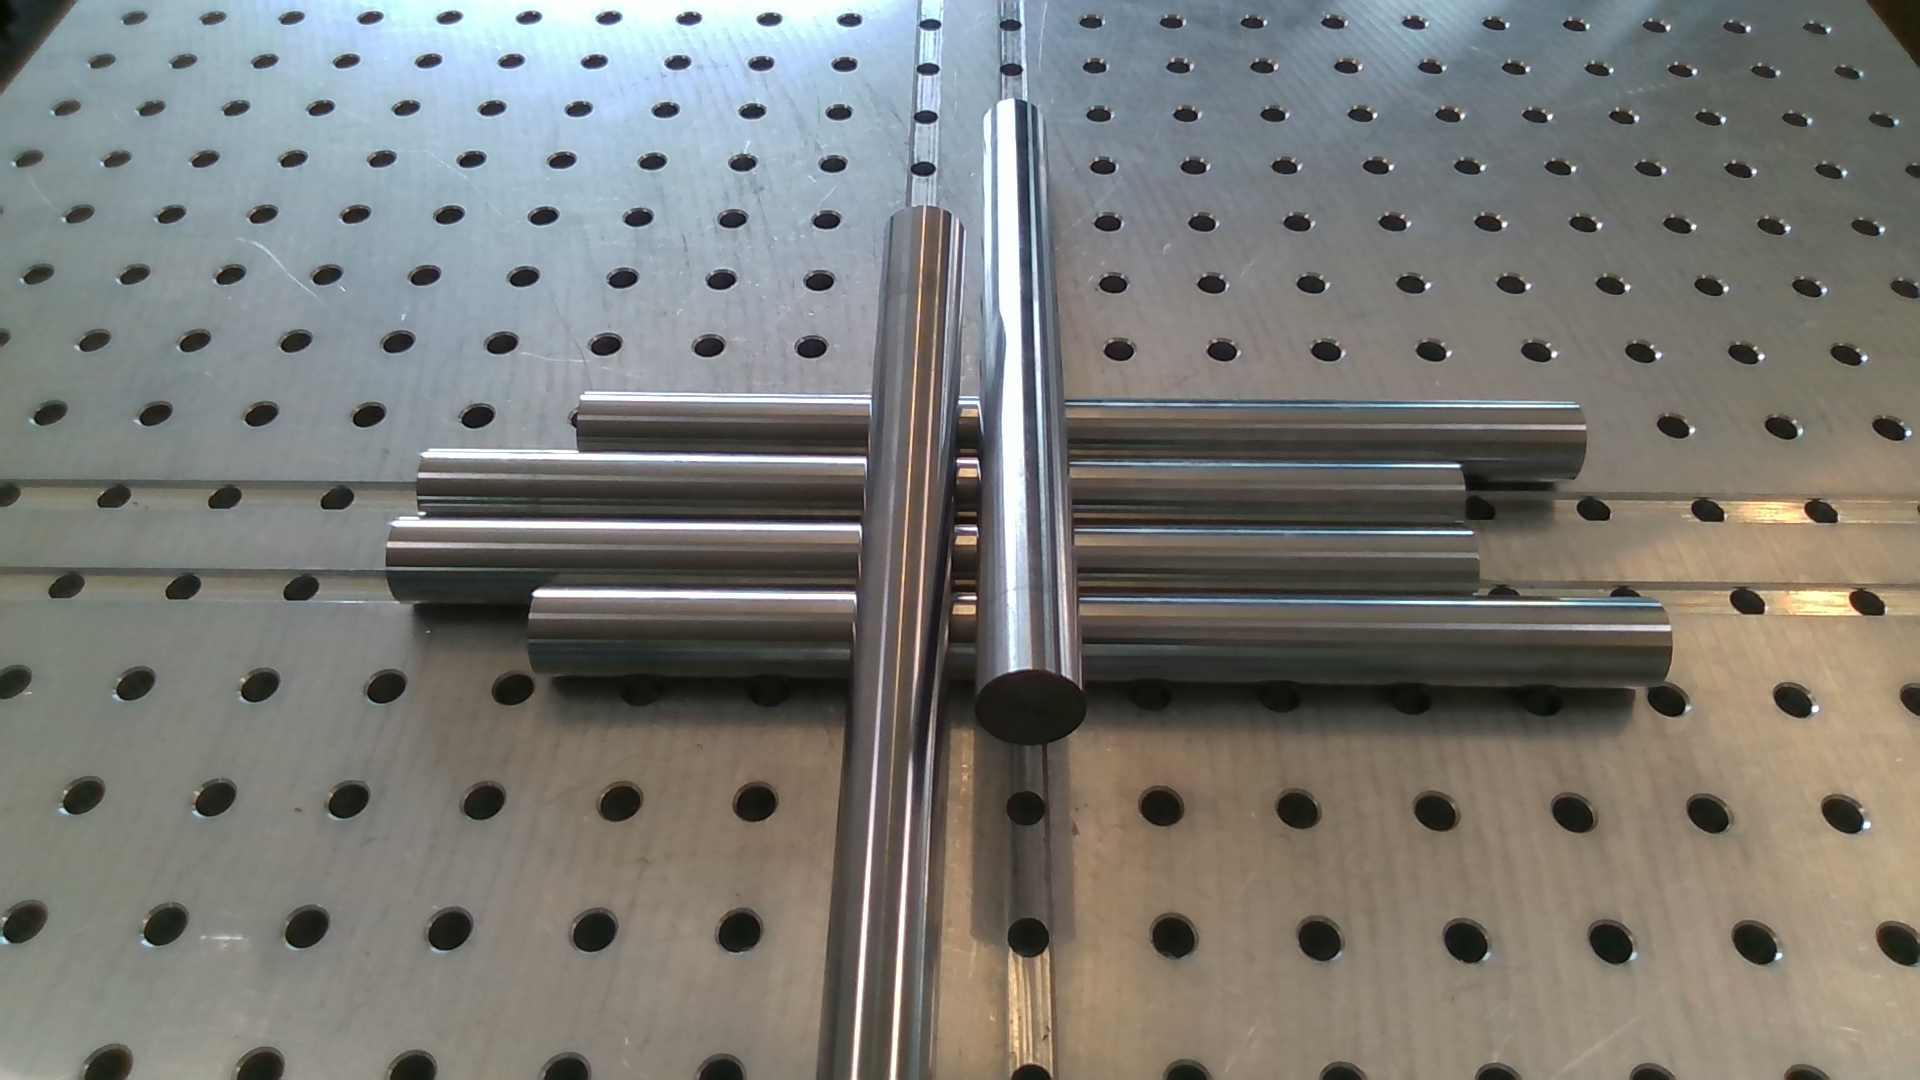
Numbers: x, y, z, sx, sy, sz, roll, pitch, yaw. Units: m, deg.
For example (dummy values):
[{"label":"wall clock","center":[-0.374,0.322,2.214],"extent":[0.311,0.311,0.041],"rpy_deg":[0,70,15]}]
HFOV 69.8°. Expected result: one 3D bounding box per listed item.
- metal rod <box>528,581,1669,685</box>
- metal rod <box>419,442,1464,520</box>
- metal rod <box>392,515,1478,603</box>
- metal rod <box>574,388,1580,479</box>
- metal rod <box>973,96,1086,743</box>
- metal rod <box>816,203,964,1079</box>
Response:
[{"label":"metal rod","center":[0.036,0.025,0.375],"extent":[0.300,0.025,0.025],"rpy_deg":[1,50,0]},{"label":"metal rod","center":[-0.006,-0.014,0.408],"extent":[0.300,0.025,0.025],"rpy_deg":[1,50,1]},{"label":"metal rod","center":[-0.007,0.007,0.392],"extent":[0.300,0.025,0.025],"rpy_deg":[1,50,1]},{"label":"metal rod","center":[0.035,-0.033,0.423],"extent":[0.300,0.025,0.025],"rpy_deg":[1,50,0]},{"label":"metal rod","center":[0.018,-0.061,0.418],"extent":[0.025,0.025,0.299],"rpy_deg":[1,41,1]},{"label":"metal rod","center":[-0.015,0.034,0.341],"extent":[0.025,0.025,0.299],"rpy_deg":[1,59,1]}]
